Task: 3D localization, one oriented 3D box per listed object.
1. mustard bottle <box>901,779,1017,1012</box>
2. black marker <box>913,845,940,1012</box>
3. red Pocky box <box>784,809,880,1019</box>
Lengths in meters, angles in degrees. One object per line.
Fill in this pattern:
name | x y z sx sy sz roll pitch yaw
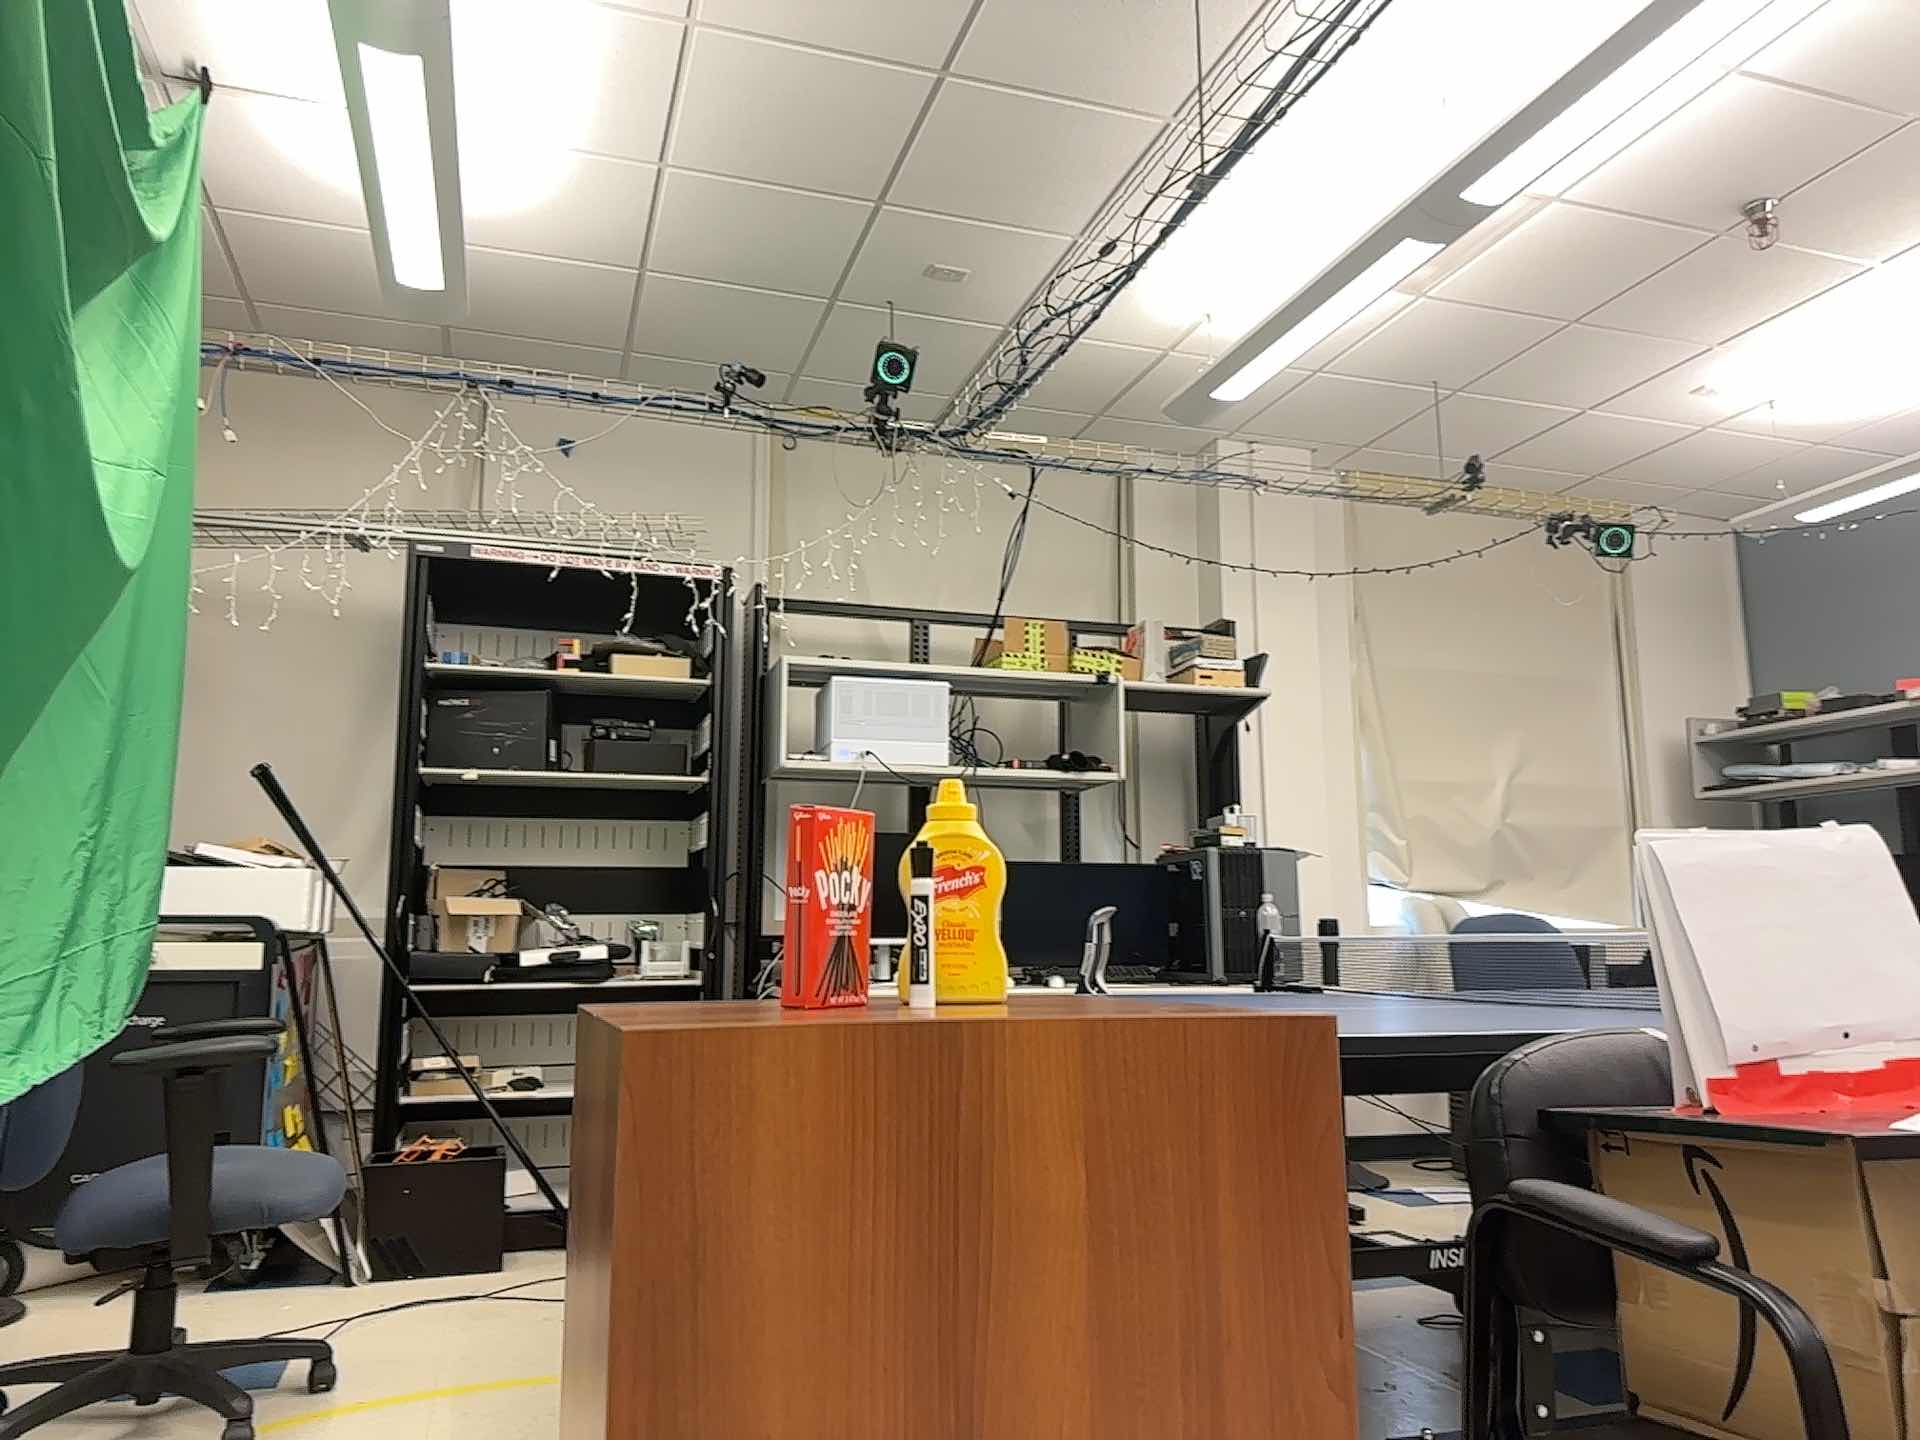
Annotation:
mustard bottle | -0.002 0.139 1.085 0.092 0.184 0.054 -1 -8 2
black marker | -0.025 0.152 0.991 0.020 0.121 0.020 0 -12 0
red Pocky box | -0.097 0.146 1.024 0.028 0.155 0.083 -5 -9 36
